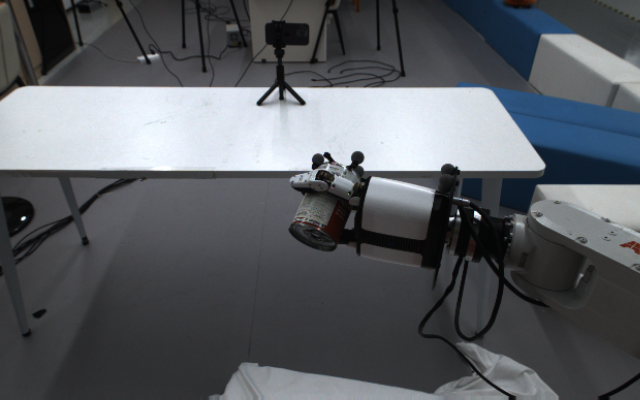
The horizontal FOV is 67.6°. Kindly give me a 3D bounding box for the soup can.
[{"bbox_3d":[0.010,0.008,0.647,0.067,0.067,0.101,15,63,18],"label":"soup can"}]
